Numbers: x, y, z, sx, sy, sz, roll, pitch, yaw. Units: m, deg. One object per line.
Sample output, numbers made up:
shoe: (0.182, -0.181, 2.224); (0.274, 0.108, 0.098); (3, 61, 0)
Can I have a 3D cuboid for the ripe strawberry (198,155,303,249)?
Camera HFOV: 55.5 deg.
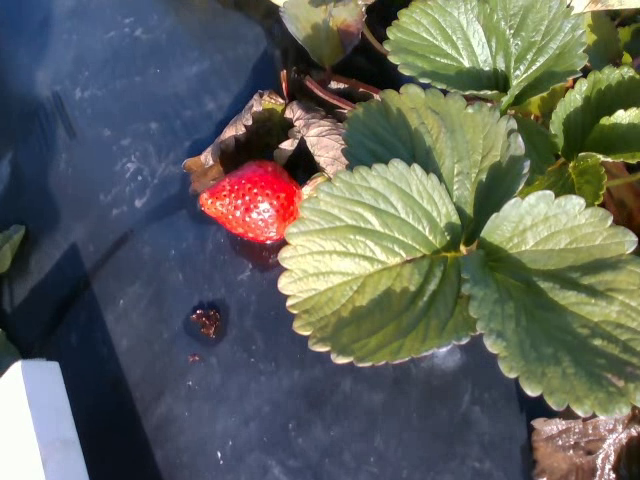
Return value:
ripe strawberry: (-0.036, -0.014, 0.247); (0.054, 0.047, 0.038); (-5, -17, -12)
